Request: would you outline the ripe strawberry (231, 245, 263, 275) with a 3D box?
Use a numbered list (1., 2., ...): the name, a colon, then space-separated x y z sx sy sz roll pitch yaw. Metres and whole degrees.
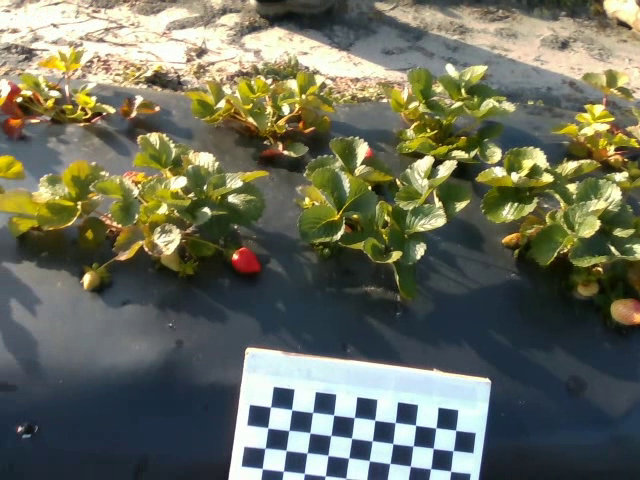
1. ripe strawberry: -0.082 0.027 0.698 0.044 0.030 0.033 35 -2 27
